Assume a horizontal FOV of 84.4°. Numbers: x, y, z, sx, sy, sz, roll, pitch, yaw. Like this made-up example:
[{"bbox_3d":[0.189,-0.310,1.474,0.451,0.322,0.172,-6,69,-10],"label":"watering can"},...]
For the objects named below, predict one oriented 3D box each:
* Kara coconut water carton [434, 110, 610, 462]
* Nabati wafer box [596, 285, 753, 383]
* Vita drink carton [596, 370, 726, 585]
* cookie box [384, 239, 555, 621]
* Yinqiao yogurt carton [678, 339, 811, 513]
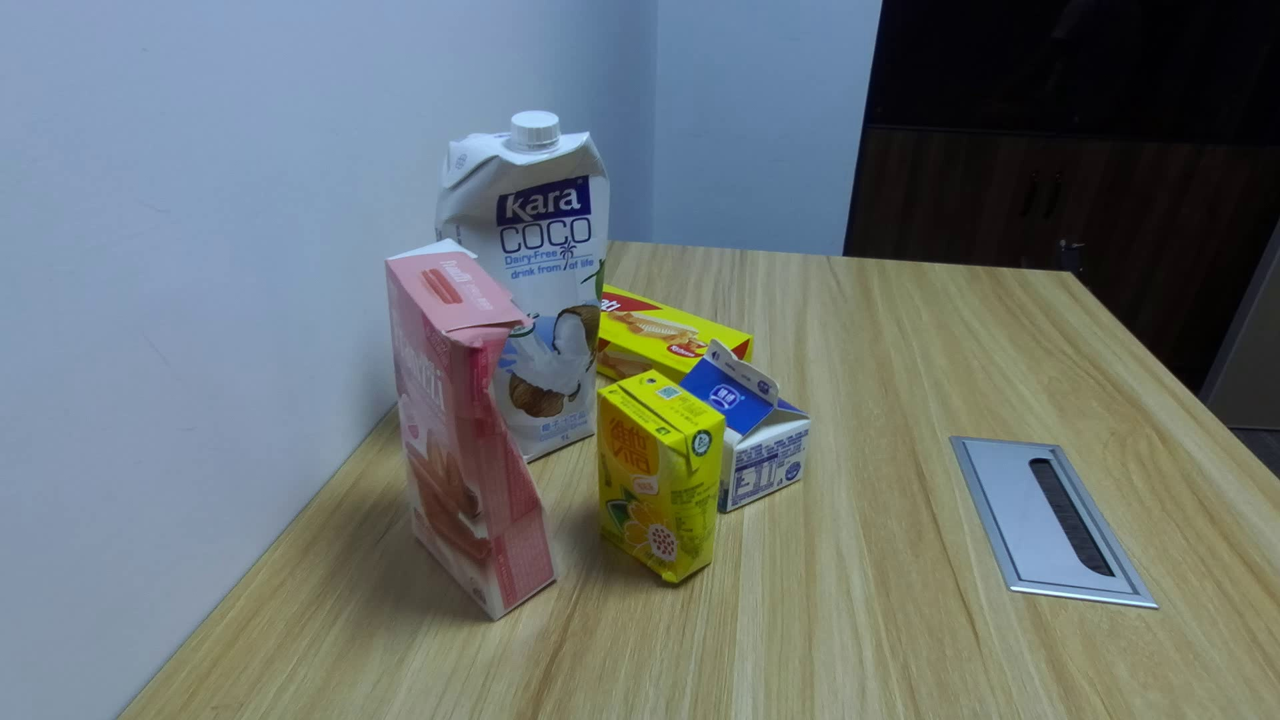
[{"bbox_3d":[-0.076,-0.046,0.490,0.115,0.238,0.069,-20,36,-33],"label":"Kara coconut water carton"},{"bbox_3d":[-0.005,-0.020,0.646,0.202,0.042,0.093,23,36,32],"label":"Nabati wafer box"},{"bbox_3d":[0.012,0.071,0.412,0.043,0.109,0.076,-20,36,-32],"label":"Vita drink carton"},{"bbox_3d":[-0.091,0.042,0.388,0.056,0.184,0.118,-18,35,-31],"label":"cookie box"},{"bbox_3d":[0.067,0.039,0.487,0.074,0.092,0.075,-17,35,-30],"label":"Yinqiao yogurt carton"}]
